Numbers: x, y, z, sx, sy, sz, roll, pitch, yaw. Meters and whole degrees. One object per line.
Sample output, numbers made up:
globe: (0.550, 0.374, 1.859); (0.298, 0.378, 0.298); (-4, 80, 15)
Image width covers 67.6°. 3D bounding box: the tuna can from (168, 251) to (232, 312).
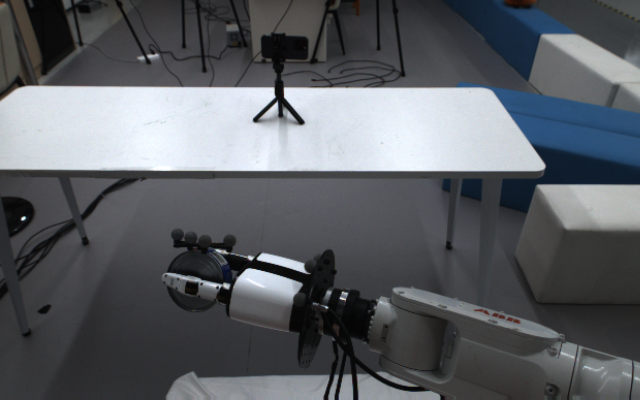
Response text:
tuna can: (-0.165, 0.110, 0.671); (0.085, 0.085, 0.034); (12, 3, 13)
